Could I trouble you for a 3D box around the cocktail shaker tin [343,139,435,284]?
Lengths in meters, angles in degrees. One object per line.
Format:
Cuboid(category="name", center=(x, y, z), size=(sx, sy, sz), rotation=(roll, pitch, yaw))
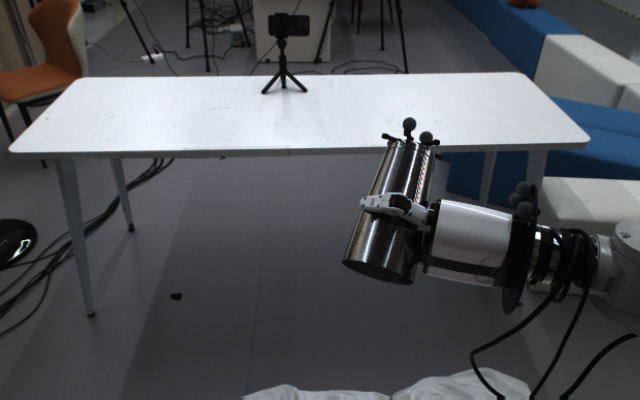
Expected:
Cuboid(category="cocktail shaker tin", center=(0.097, 0.014, 0.622), size=(0.093, 0.093, 0.170), rotation=(14, 73, 16))
